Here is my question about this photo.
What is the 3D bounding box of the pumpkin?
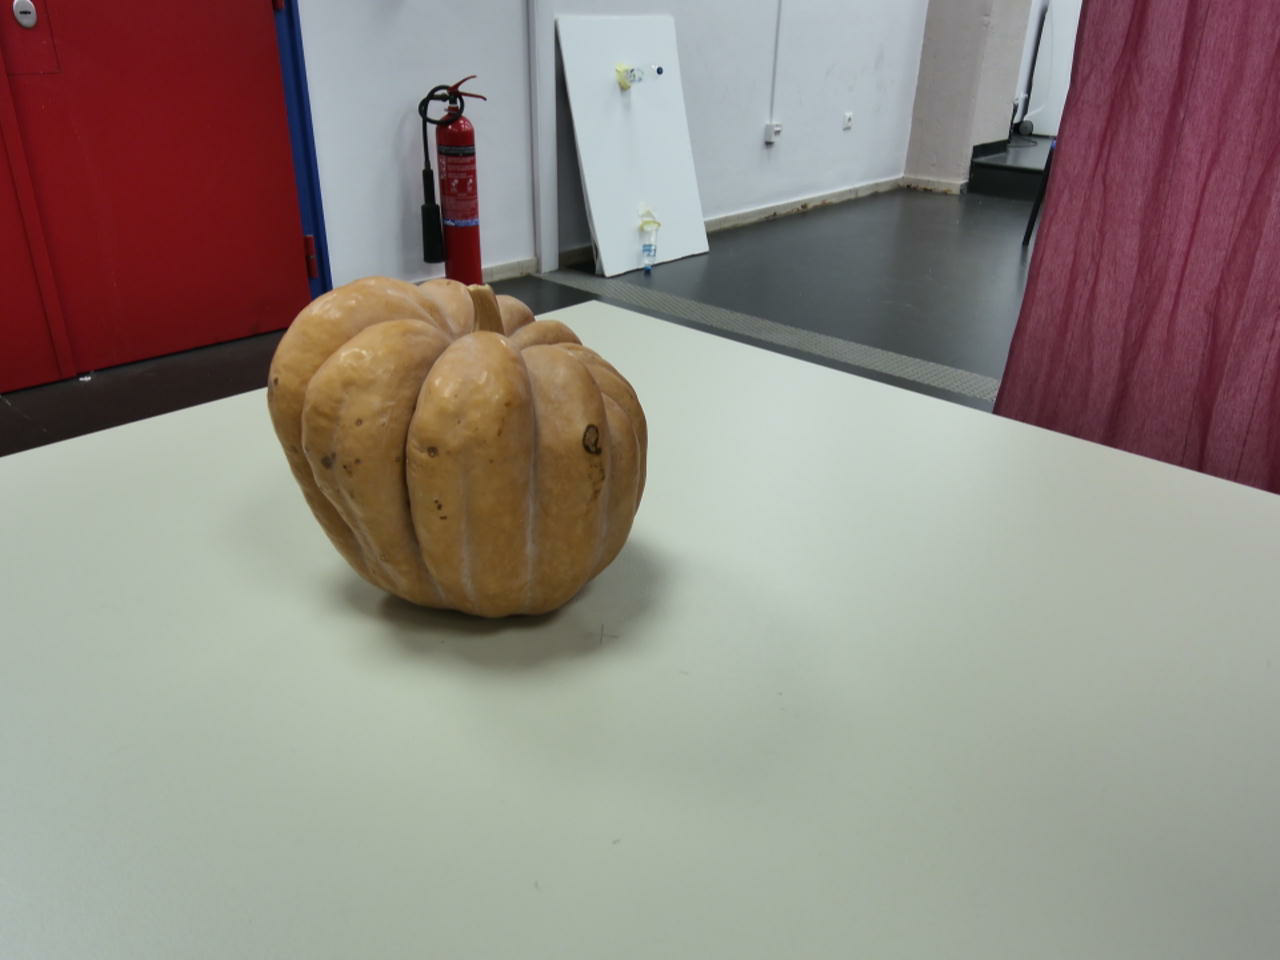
[{"bbox_3d":[-0.093,-0.019,0.533,0.199,0.177,0.198,1,25,-1],"label":"pumpkin"}]
